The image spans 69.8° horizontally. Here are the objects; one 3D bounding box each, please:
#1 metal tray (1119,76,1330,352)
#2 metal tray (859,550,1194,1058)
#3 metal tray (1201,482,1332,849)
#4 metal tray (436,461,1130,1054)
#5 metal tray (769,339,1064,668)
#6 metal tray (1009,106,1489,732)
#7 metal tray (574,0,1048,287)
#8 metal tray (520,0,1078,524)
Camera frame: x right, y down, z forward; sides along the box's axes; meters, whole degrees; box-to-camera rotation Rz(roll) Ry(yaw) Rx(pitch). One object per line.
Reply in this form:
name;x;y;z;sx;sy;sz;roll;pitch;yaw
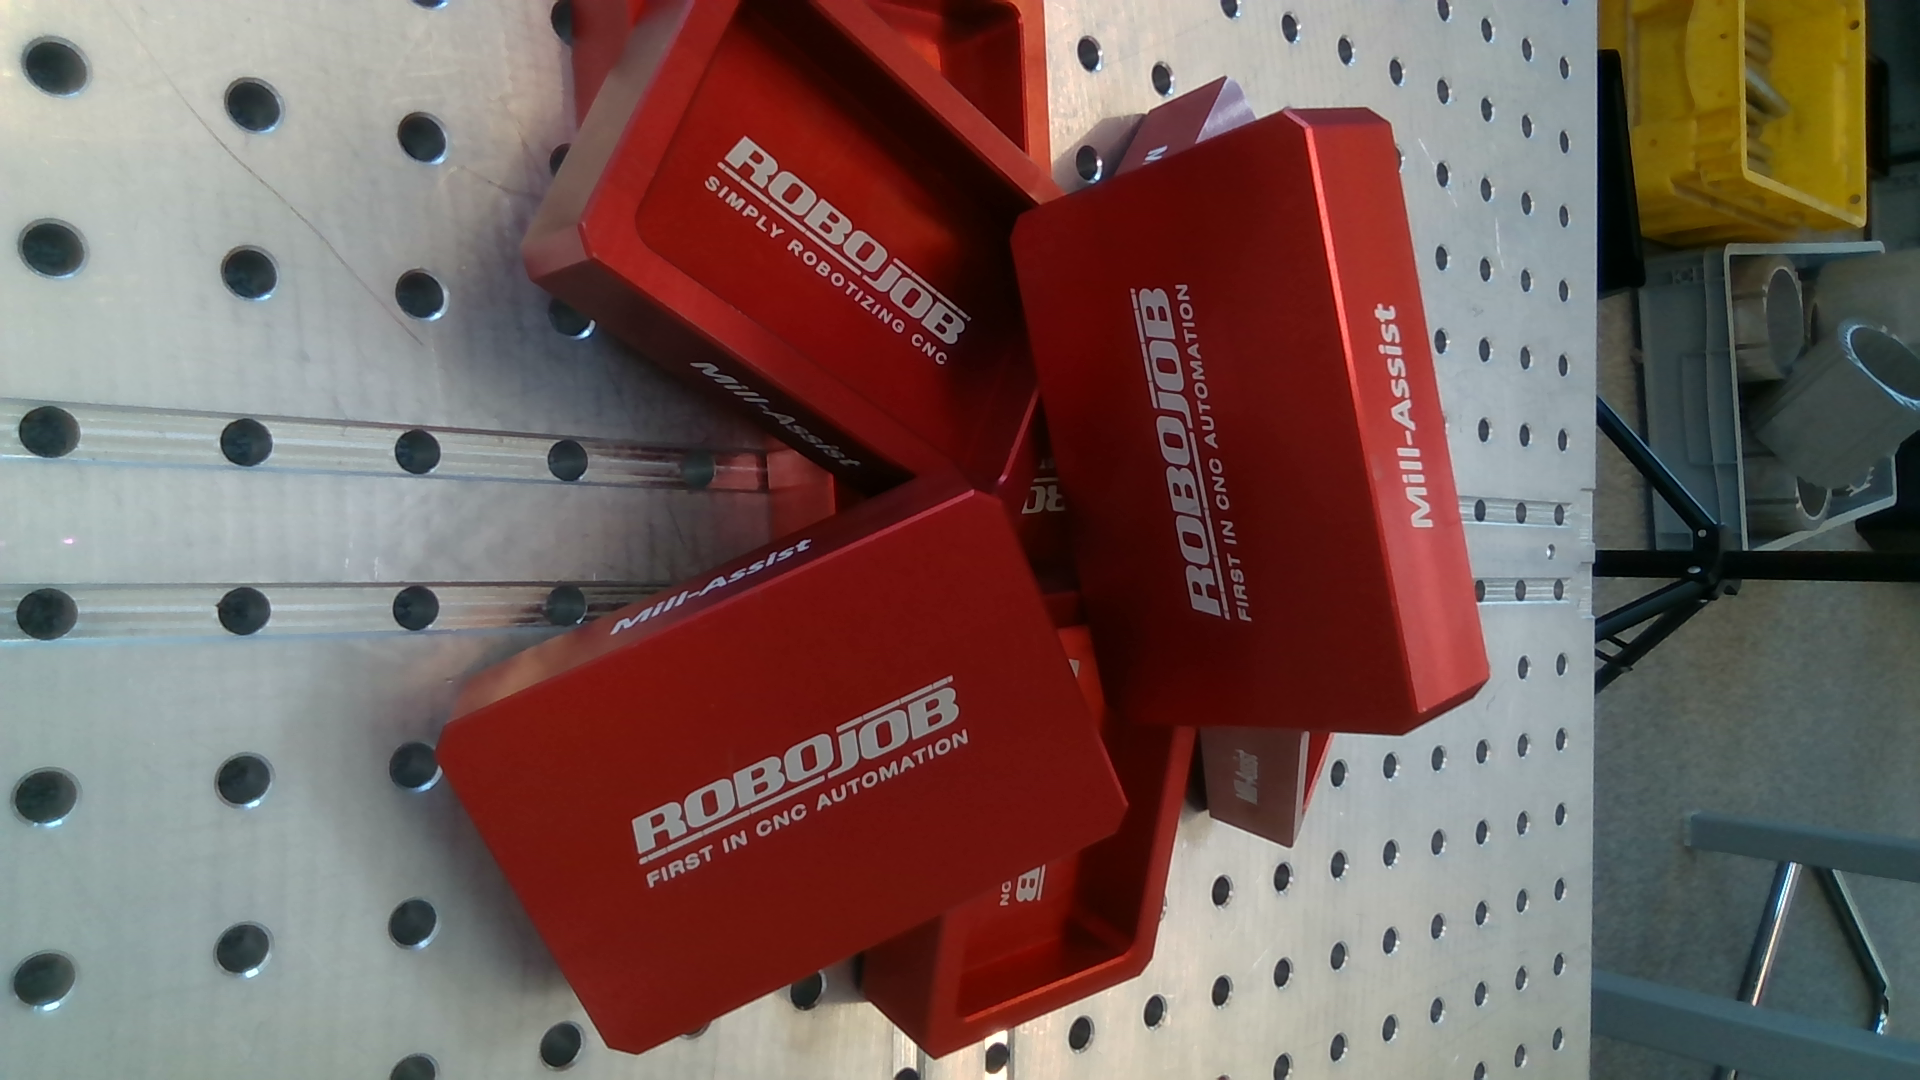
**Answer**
metal tray;0.078;-0.074;0.434;0.090;0.030;0.130;52;44;-27
metal tray;0.023;0.070;0.386;0.090;0.030;0.130;-6;111;-40
metal tray;0.107;0.035;0.437;0.090;0.030;0.130;-64;158;-21
metal tray;-0.037;0.049;0.316;0.130;0.030;0.090;-24;108;-3
metal tray;0.008;-0.015;0.397;0.130;0.030;0.090;-6;96;-42
metal tray;0.064;-0.023;0.321;0.030;0.090;0.130;-16;96;-39
metal tray;-0.033;-0.111;0.363;0.130;0.030;0.090;-6;94;-41
metal tray;-0.026;-0.069;0.329;0.130;0.030;0.090;33;69;-35
